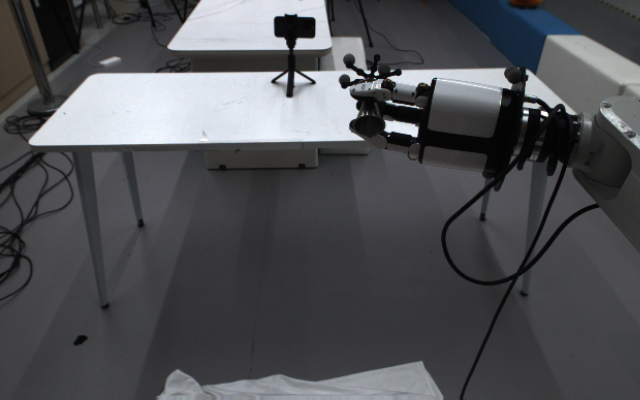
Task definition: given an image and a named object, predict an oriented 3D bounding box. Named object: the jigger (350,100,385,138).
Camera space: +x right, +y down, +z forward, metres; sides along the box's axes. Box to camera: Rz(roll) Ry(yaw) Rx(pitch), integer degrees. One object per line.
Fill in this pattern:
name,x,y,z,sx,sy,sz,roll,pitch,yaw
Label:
jigger,0.067,-0.130,0.660,0.043,0.043,0.071,4,61,2
